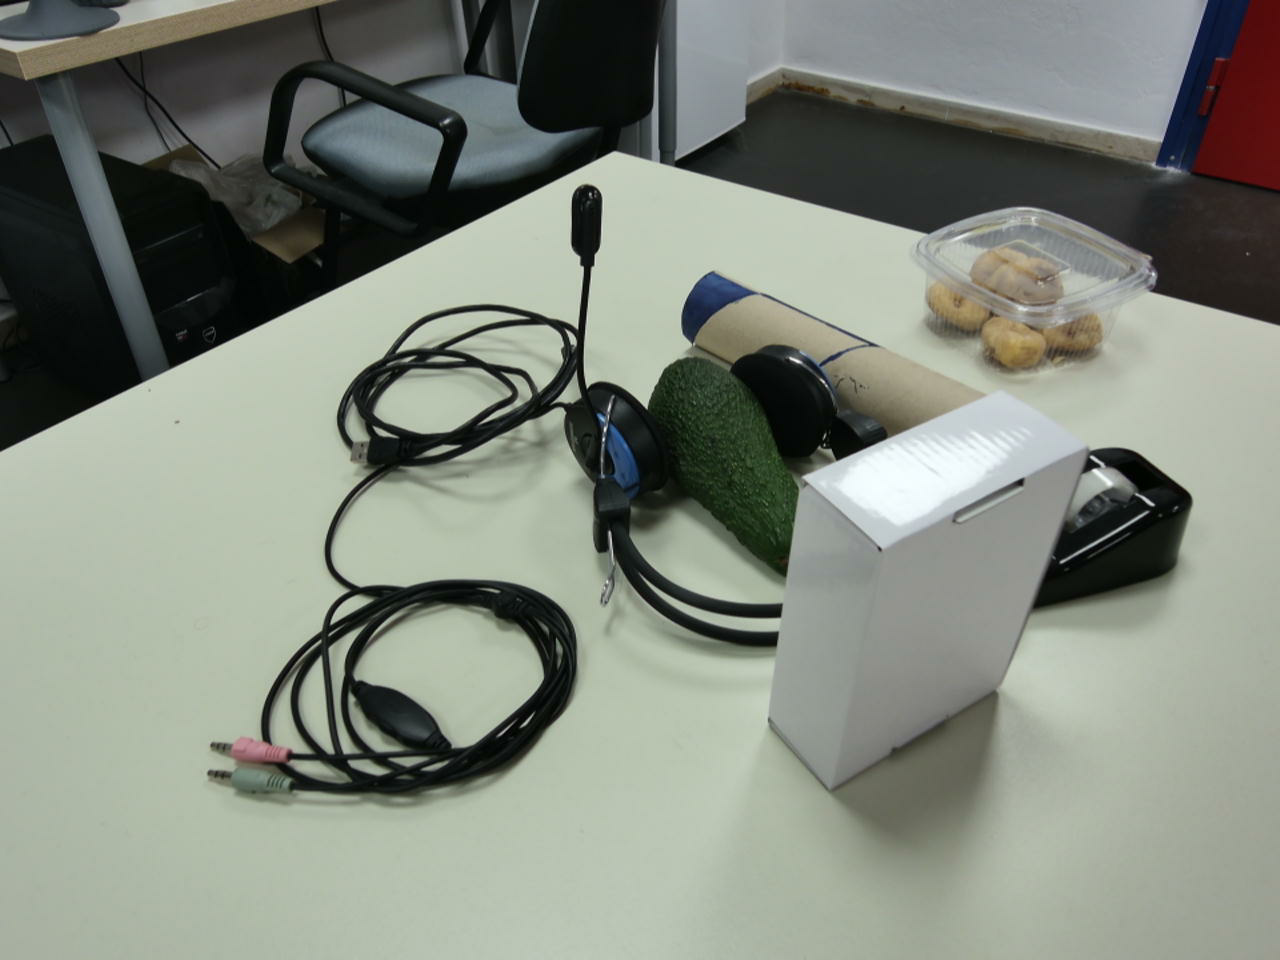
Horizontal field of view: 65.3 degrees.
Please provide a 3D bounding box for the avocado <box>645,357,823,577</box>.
[{"bbox_3d":[0.052,-0.014,0.516,0.063,0.067,0.141,-25,43,-28],"label":"avocado"}]
